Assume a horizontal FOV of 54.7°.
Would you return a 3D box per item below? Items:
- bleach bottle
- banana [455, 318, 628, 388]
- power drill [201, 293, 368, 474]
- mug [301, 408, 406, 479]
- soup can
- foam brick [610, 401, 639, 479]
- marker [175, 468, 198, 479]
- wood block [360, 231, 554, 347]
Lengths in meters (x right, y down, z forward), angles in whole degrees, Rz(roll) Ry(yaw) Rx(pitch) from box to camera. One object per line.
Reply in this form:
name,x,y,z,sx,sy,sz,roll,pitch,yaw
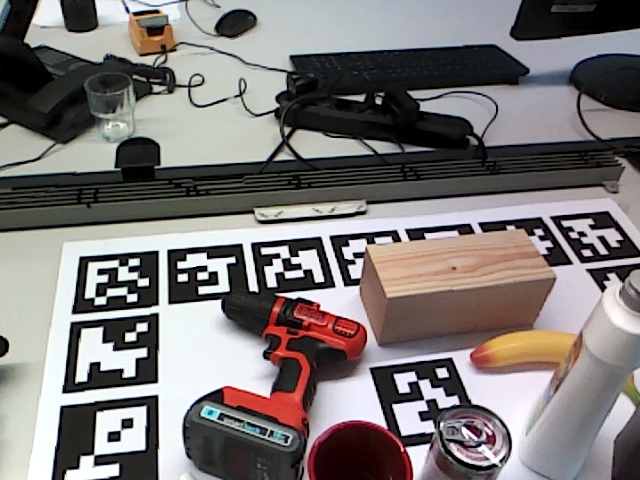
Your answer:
bleach bottle,0.248,0.120,0.577,0.068,0.250,0.102,14,41,13
banana,0.257,0.126,0.726,0.197,0.039,0.074,7,55,1
power drill,-0.054,0.146,0.679,0.185,0.057,0.187,17,42,10
mug,0.021,0.225,0.567,0.094,0.081,0.117,27,49,21
soup can,0.127,0.201,0.578,0.068,0.102,0.068,3,37,-3
foam brick,0.329,0.210,0.614,0.053,0.078,0.051,17,41,17
marker,-0.094,0.262,0.569,0.019,0.019,0.122,-29,52,-29
wood block,0.162,0.058,0.764,0.206,0.091,0.090,-6,43,-10
